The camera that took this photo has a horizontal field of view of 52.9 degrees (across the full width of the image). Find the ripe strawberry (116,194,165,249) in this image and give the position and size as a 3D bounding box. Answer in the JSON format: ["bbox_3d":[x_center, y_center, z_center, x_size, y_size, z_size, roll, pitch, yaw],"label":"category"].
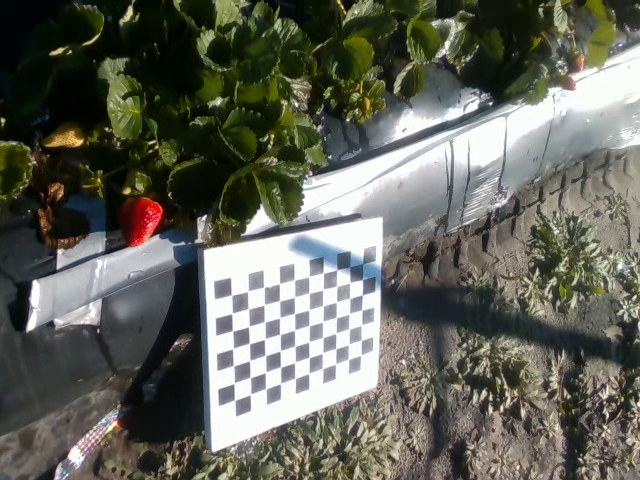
[{"bbox_3d":[-0.209,-0.013,0.750,0.057,0.065,0.061,-31,-41,28],"label":"ripe strawberry"}]
